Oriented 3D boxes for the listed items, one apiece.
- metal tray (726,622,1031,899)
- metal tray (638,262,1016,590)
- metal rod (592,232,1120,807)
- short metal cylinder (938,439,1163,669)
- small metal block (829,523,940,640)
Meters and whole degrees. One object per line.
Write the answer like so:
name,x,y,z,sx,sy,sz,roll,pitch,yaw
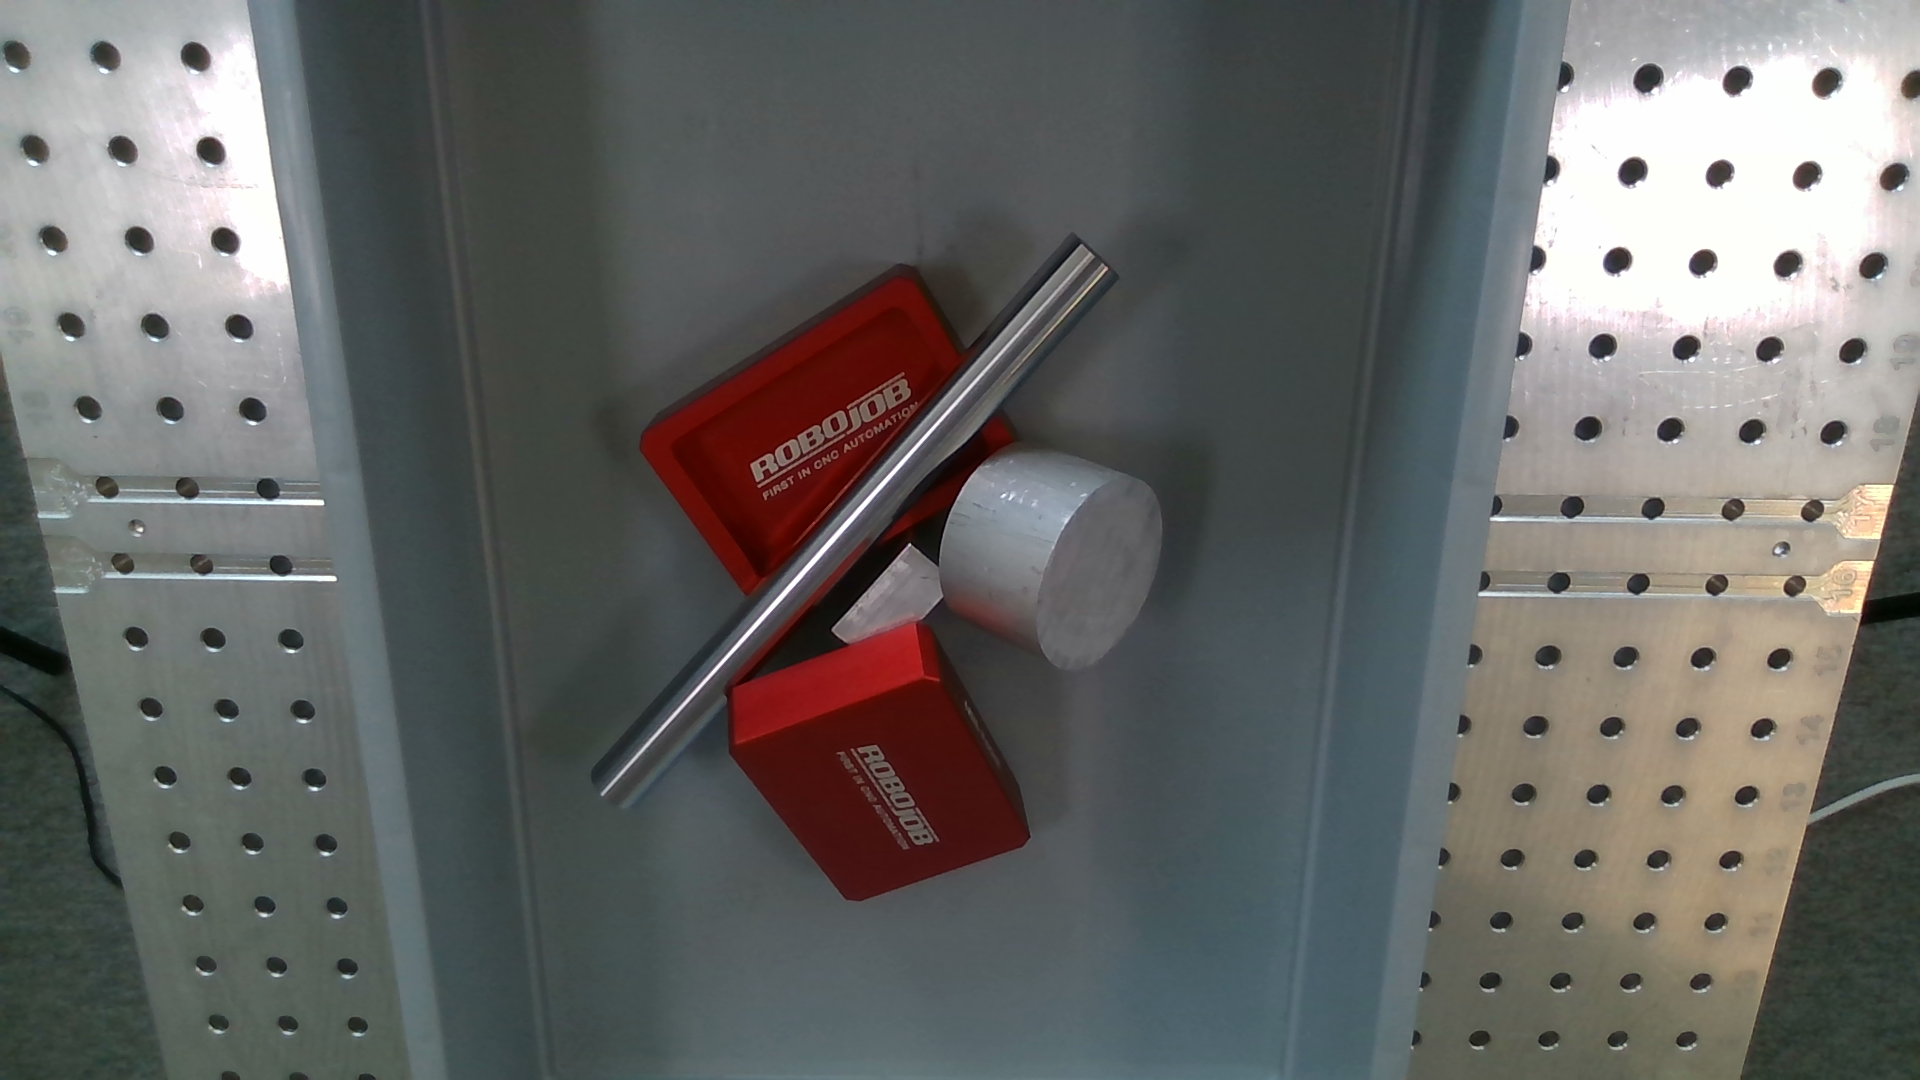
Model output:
metal tray,-0.032,0.099,0.590,0.090,0.030,0.130,-20,133,7
metal tray,-0.053,-0.042,0.565,0.130,0.030,0.090,-30,107,11
metal rod,-0.049,0.000,0.552,0.025,0.025,0.300,39,106,-13
short metal cylinder,0.037,0.005,0.550,0.050,0.080,0.080,24,115,36
small metal block,-0.027,0.018,0.576,0.025,0.050,0.050,39,106,-13
